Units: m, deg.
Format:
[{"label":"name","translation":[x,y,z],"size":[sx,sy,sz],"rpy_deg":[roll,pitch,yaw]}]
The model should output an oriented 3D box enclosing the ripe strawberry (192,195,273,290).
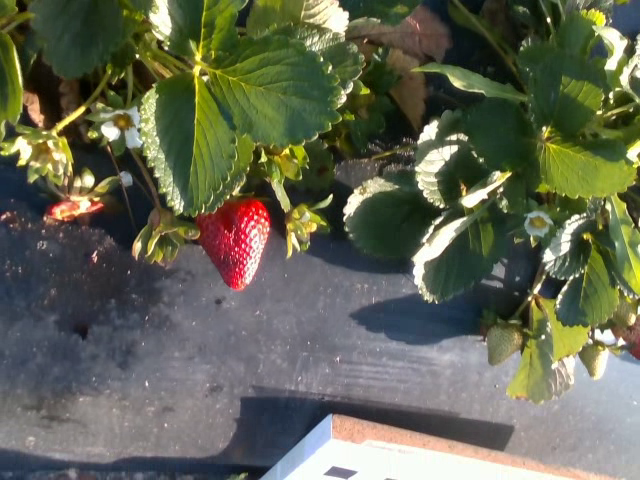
[{"label":"ripe strawberry","translation":[-0.049,0.006,0.346],"size":[0.052,0.052,0.041],"rpy_deg":[-4,-10,4]}]
